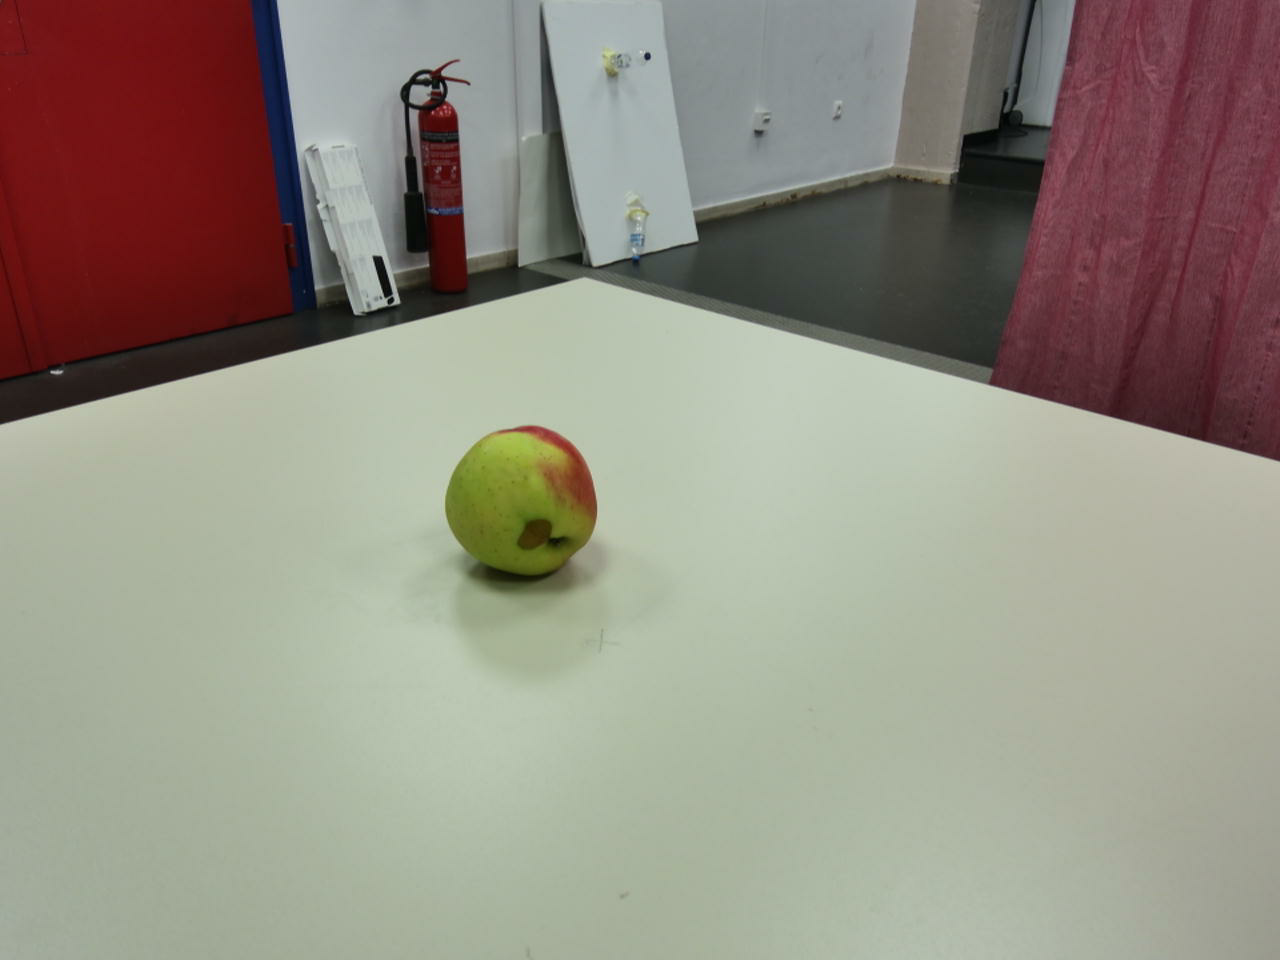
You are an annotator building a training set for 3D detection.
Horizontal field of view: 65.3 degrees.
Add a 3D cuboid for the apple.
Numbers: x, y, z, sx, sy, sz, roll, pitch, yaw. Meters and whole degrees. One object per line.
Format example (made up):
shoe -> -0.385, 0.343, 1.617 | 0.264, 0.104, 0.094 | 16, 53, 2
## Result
apple -> -0.058, 0.010, 0.507 | 0.075, 0.074, 0.075 | 11, 26, 19
